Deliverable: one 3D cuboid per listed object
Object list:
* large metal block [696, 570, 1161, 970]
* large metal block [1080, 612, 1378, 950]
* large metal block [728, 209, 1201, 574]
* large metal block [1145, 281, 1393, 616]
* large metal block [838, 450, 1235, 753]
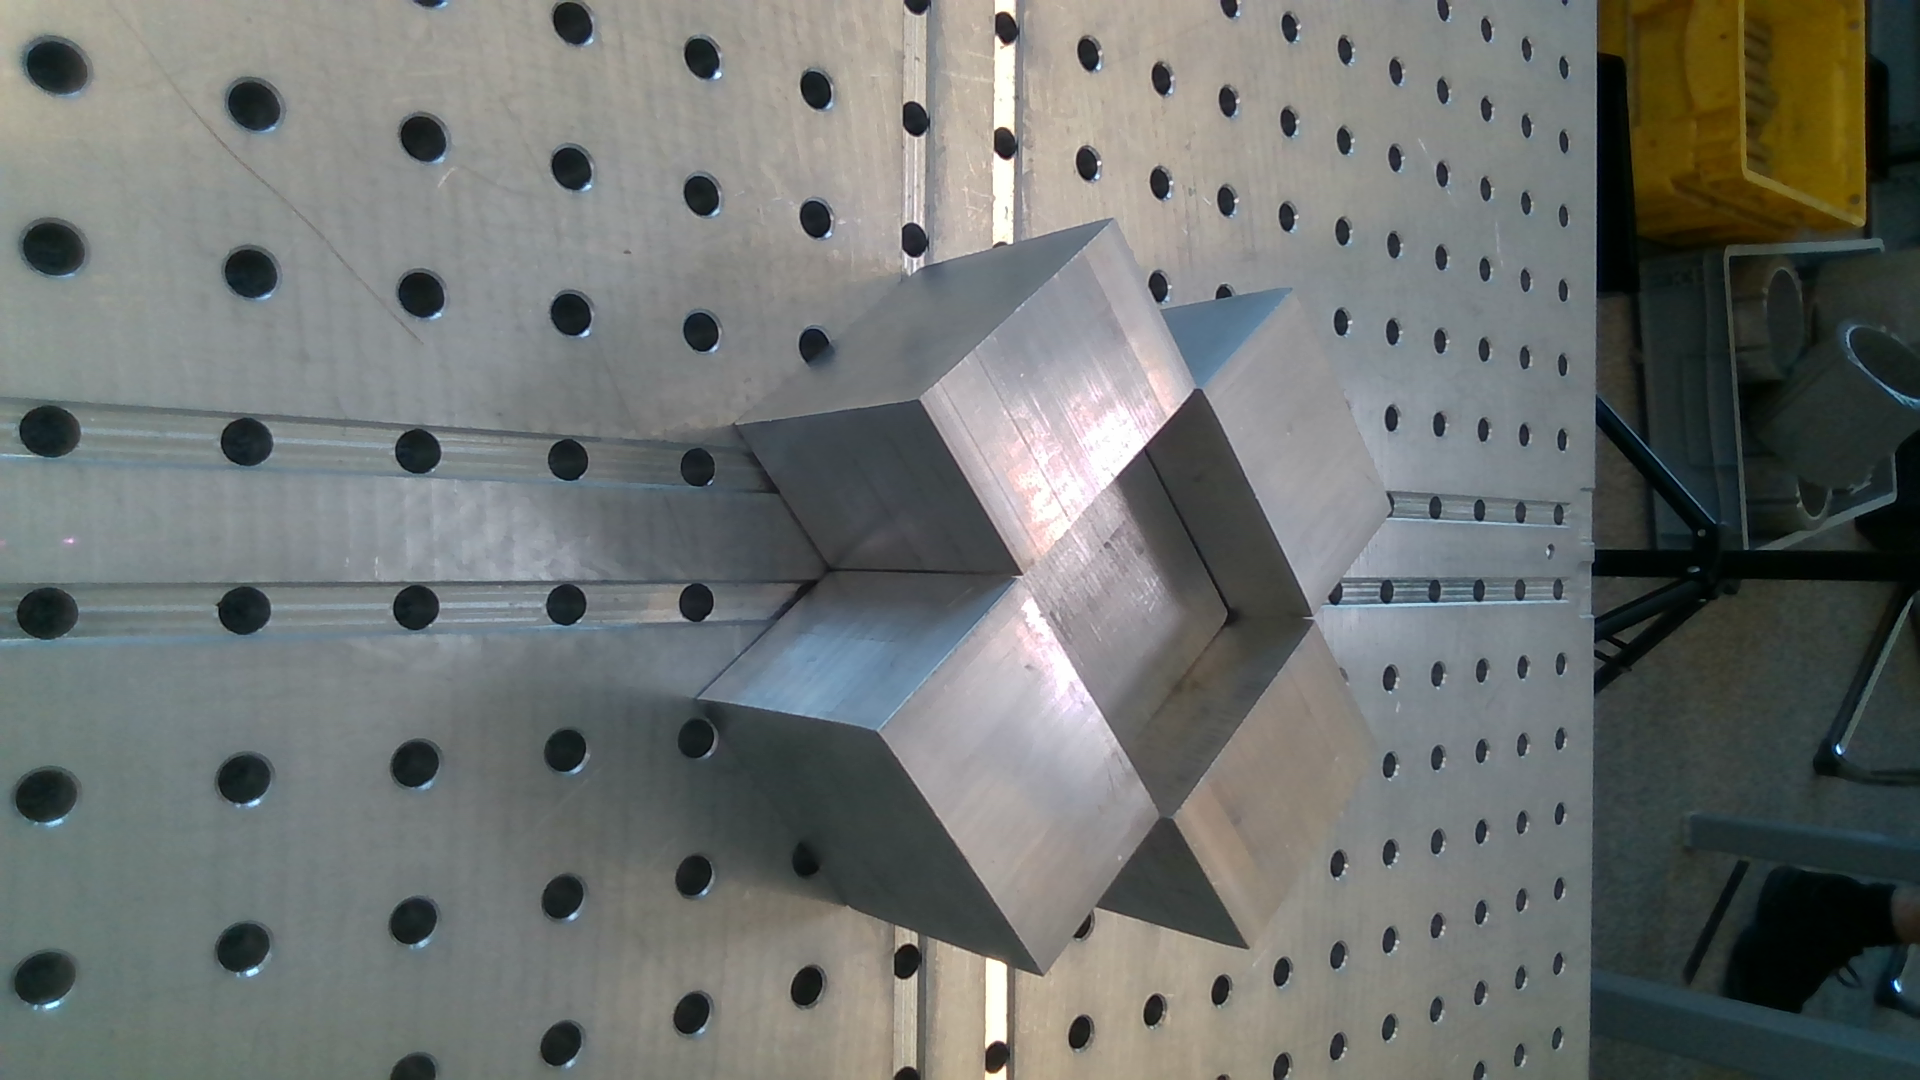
[{"bbox_3d":[-0.008,0.055,0.352,0.050,0.080,0.080,-45,117,-31],"label":"large metal block"},{"bbox_3d":[0.064,0.066,0.412,0.080,0.080,0.050,-46,118,-30],"label":"large metal block"},{"bbox_3d":[0.001,-0.037,0.358,0.080,0.080,0.050,-46,118,-30],"label":"large metal block"},{"bbox_3d":[0.071,-0.025,0.418,0.050,0.080,0.080,-46,118,-30],"label":"large metal block"},{"bbox_3d":[0.023,0.016,0.396,0.080,0.050,0.080,-47,116,-32],"label":"large metal block"}]
